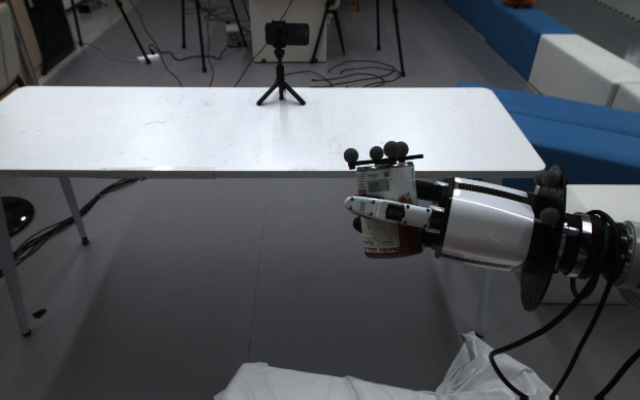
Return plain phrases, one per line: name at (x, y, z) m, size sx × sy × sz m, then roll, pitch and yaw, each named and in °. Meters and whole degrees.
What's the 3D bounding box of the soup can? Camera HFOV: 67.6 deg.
soup can at (0.081, 0.010, 0.554) m, size 0.067 × 0.101 × 0.067 m, roll -7°, pitch 3°, yaw 0°
